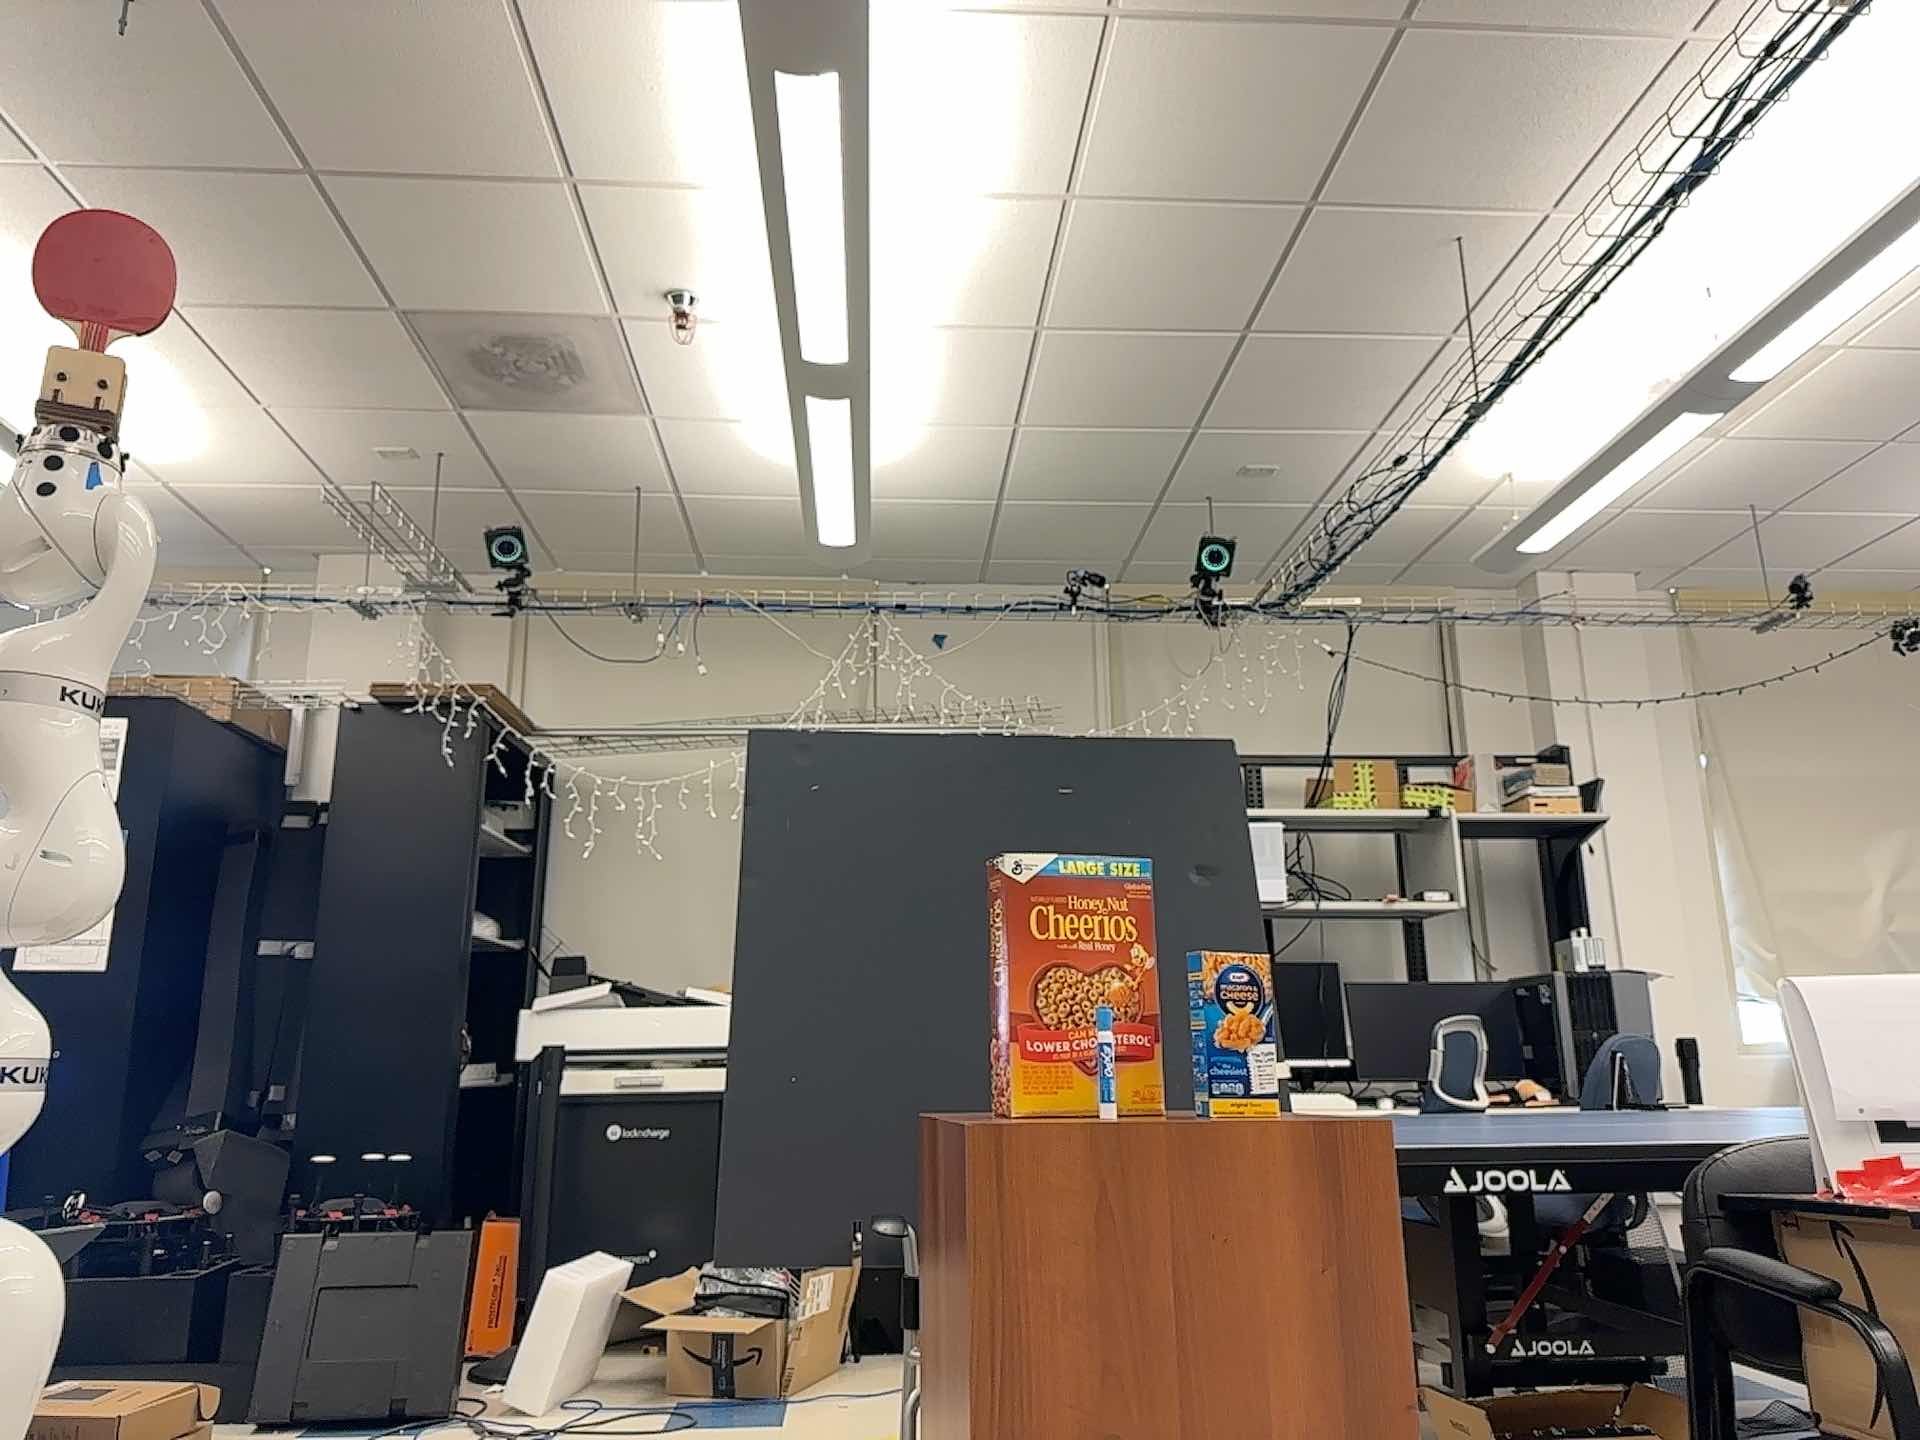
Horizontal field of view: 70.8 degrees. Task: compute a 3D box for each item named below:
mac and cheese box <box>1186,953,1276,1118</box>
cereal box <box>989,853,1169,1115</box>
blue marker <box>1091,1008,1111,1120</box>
[{"bbox_3d":[0.314,0.366,1.573,0.088,0.181,0.035,3,-15,-9],"label":"mac and cheese box"},{"bbox_3d":[0.141,0.316,1.629,0.195,0.297,0.065,5,-15,-16],"label":"cereal box"},{"bbox_3d":[0.157,0.384,1.510,0.020,0.121,0.020,0,-13,0],"label":"blue marker"}]
